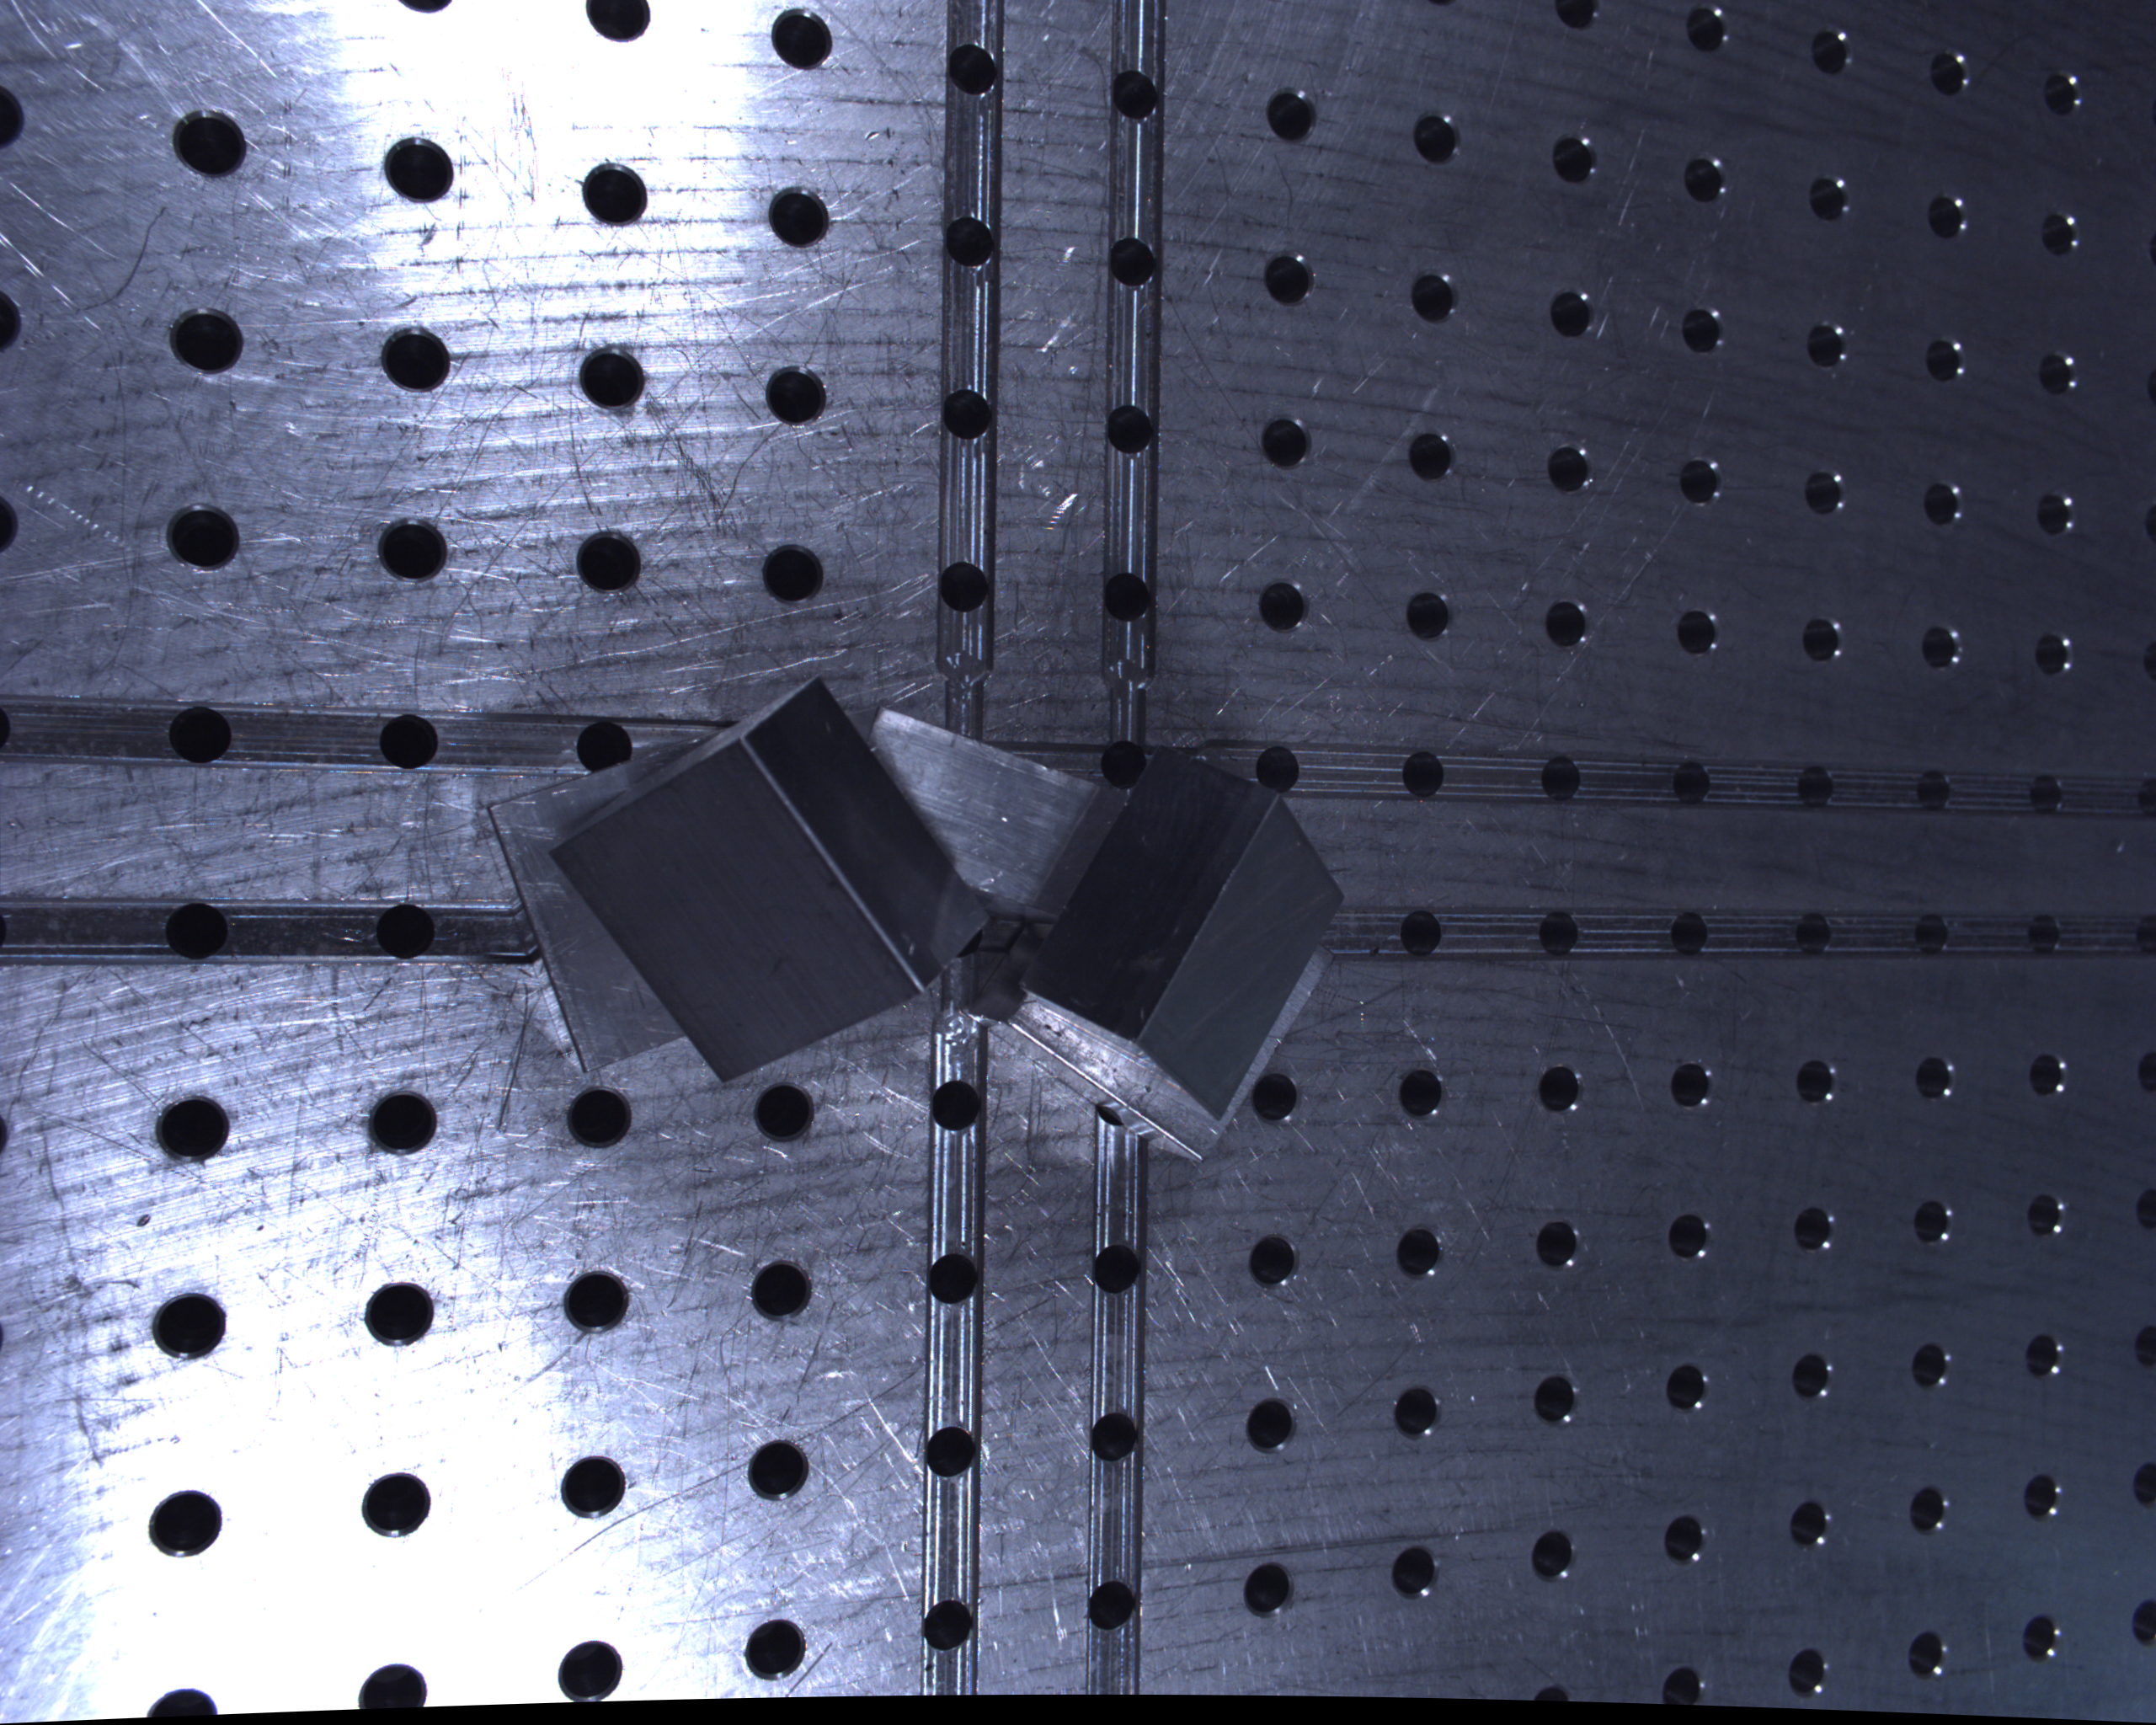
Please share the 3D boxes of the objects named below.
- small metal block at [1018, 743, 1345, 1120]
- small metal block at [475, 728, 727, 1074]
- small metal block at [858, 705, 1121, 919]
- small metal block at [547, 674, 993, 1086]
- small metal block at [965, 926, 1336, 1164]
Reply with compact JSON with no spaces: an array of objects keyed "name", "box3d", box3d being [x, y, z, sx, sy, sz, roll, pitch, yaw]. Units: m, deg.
[{"name":"small metal block","box3d":[0.020,0.014,0.380,0.050,0.025,0.050,-60,152,-11]},{"name":"small metal block","box3d":[-0.077,0.006,0.385,0.050,0.025,0.050,-21,97,-19]},{"name":"small metal block","box3d":[-0.024,-0.008,0.391,0.050,0.050,0.025,20,84,-19]},{"name":"small metal block","box3d":[-0.052,0.004,0.351,0.050,0.050,0.025,55,35,-12]},{"name":"small metal block","box3d":[0.015,0.024,0.419,0.050,0.025,0.050,37,78,-17]}]
